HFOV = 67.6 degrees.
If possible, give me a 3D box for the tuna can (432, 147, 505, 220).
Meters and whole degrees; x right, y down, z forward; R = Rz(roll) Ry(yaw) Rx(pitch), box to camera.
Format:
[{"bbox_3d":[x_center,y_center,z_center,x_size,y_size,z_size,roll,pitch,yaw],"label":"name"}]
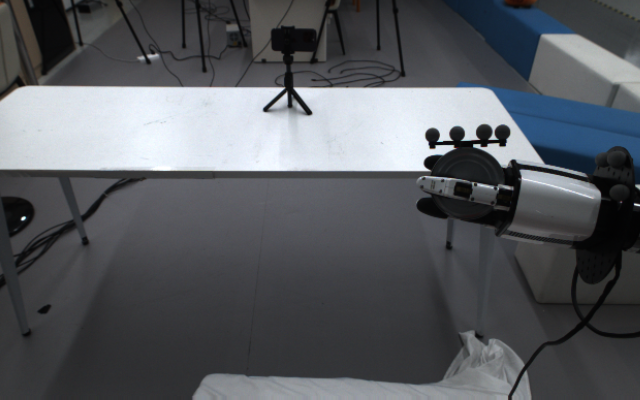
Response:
[{"bbox_3d":[0.178,-0.022,0.585,0.085,0.085,0.034,15,10,18],"label":"tuna can"}]
